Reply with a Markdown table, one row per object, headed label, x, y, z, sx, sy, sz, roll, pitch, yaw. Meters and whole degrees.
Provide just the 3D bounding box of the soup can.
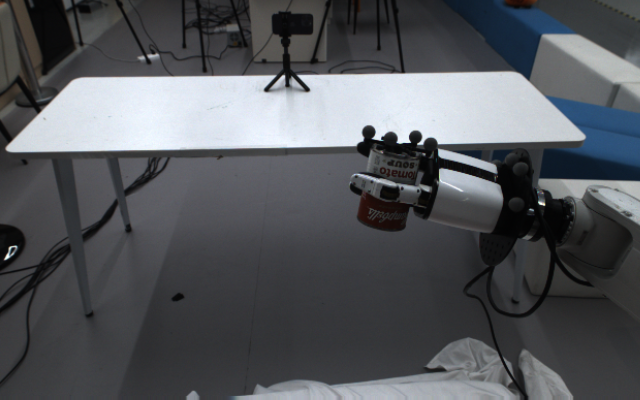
| label | x | y | z | sx | sy | sz | roll | pitch | yaw |
| --- | --- | --- | --- | --- | --- | --- | --- | --- | --- |
| soup can | 0.092 | -0.018 | 0.641 | 0.067 | 0.101 | 0.067 | 9 | 19 | -3 |
